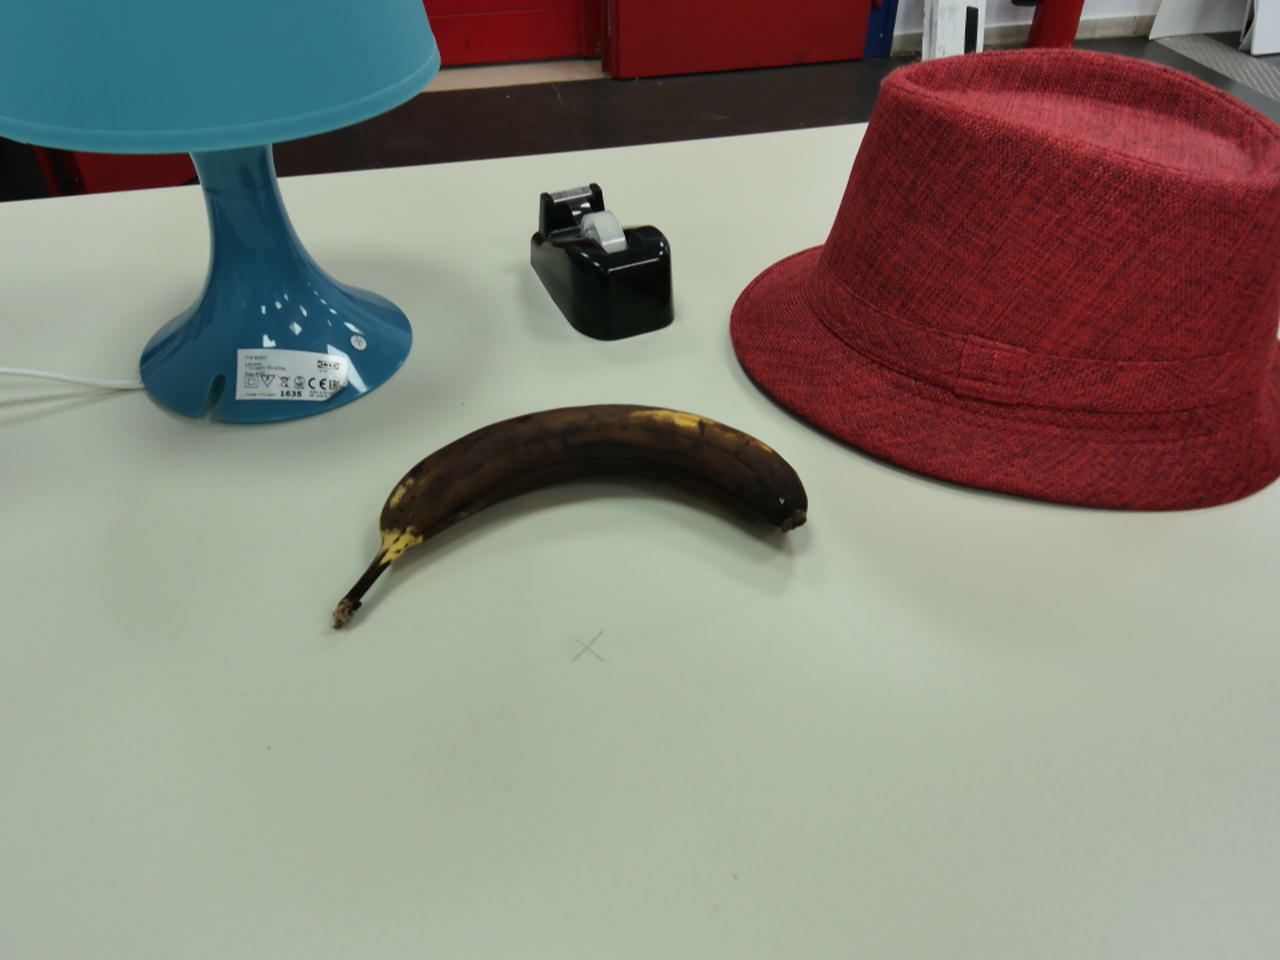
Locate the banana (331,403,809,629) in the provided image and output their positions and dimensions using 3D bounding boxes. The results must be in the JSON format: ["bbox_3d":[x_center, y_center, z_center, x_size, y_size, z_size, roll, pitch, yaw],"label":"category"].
[{"bbox_3d":[-0.031,0.001,0.412,0.188,0.034,0.091,-8,39,-10],"label":"banana"}]
